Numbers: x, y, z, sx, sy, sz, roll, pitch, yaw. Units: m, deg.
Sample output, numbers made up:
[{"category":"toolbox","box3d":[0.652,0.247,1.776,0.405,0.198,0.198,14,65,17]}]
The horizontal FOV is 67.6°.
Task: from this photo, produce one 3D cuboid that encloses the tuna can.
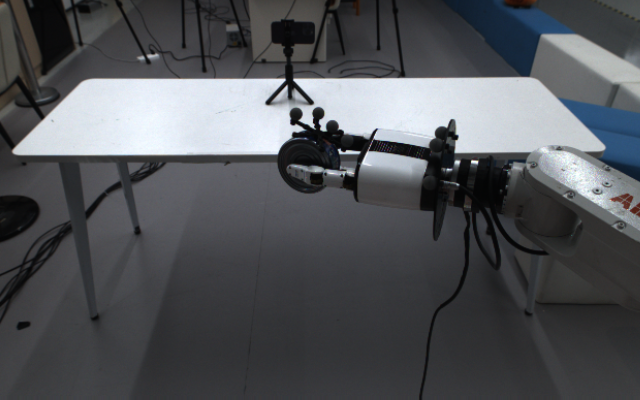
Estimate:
[{"category":"tuna can","box3d":[-0.016,-0.054,0.685,0.085,0.085,0.034,15,31,18]}]
